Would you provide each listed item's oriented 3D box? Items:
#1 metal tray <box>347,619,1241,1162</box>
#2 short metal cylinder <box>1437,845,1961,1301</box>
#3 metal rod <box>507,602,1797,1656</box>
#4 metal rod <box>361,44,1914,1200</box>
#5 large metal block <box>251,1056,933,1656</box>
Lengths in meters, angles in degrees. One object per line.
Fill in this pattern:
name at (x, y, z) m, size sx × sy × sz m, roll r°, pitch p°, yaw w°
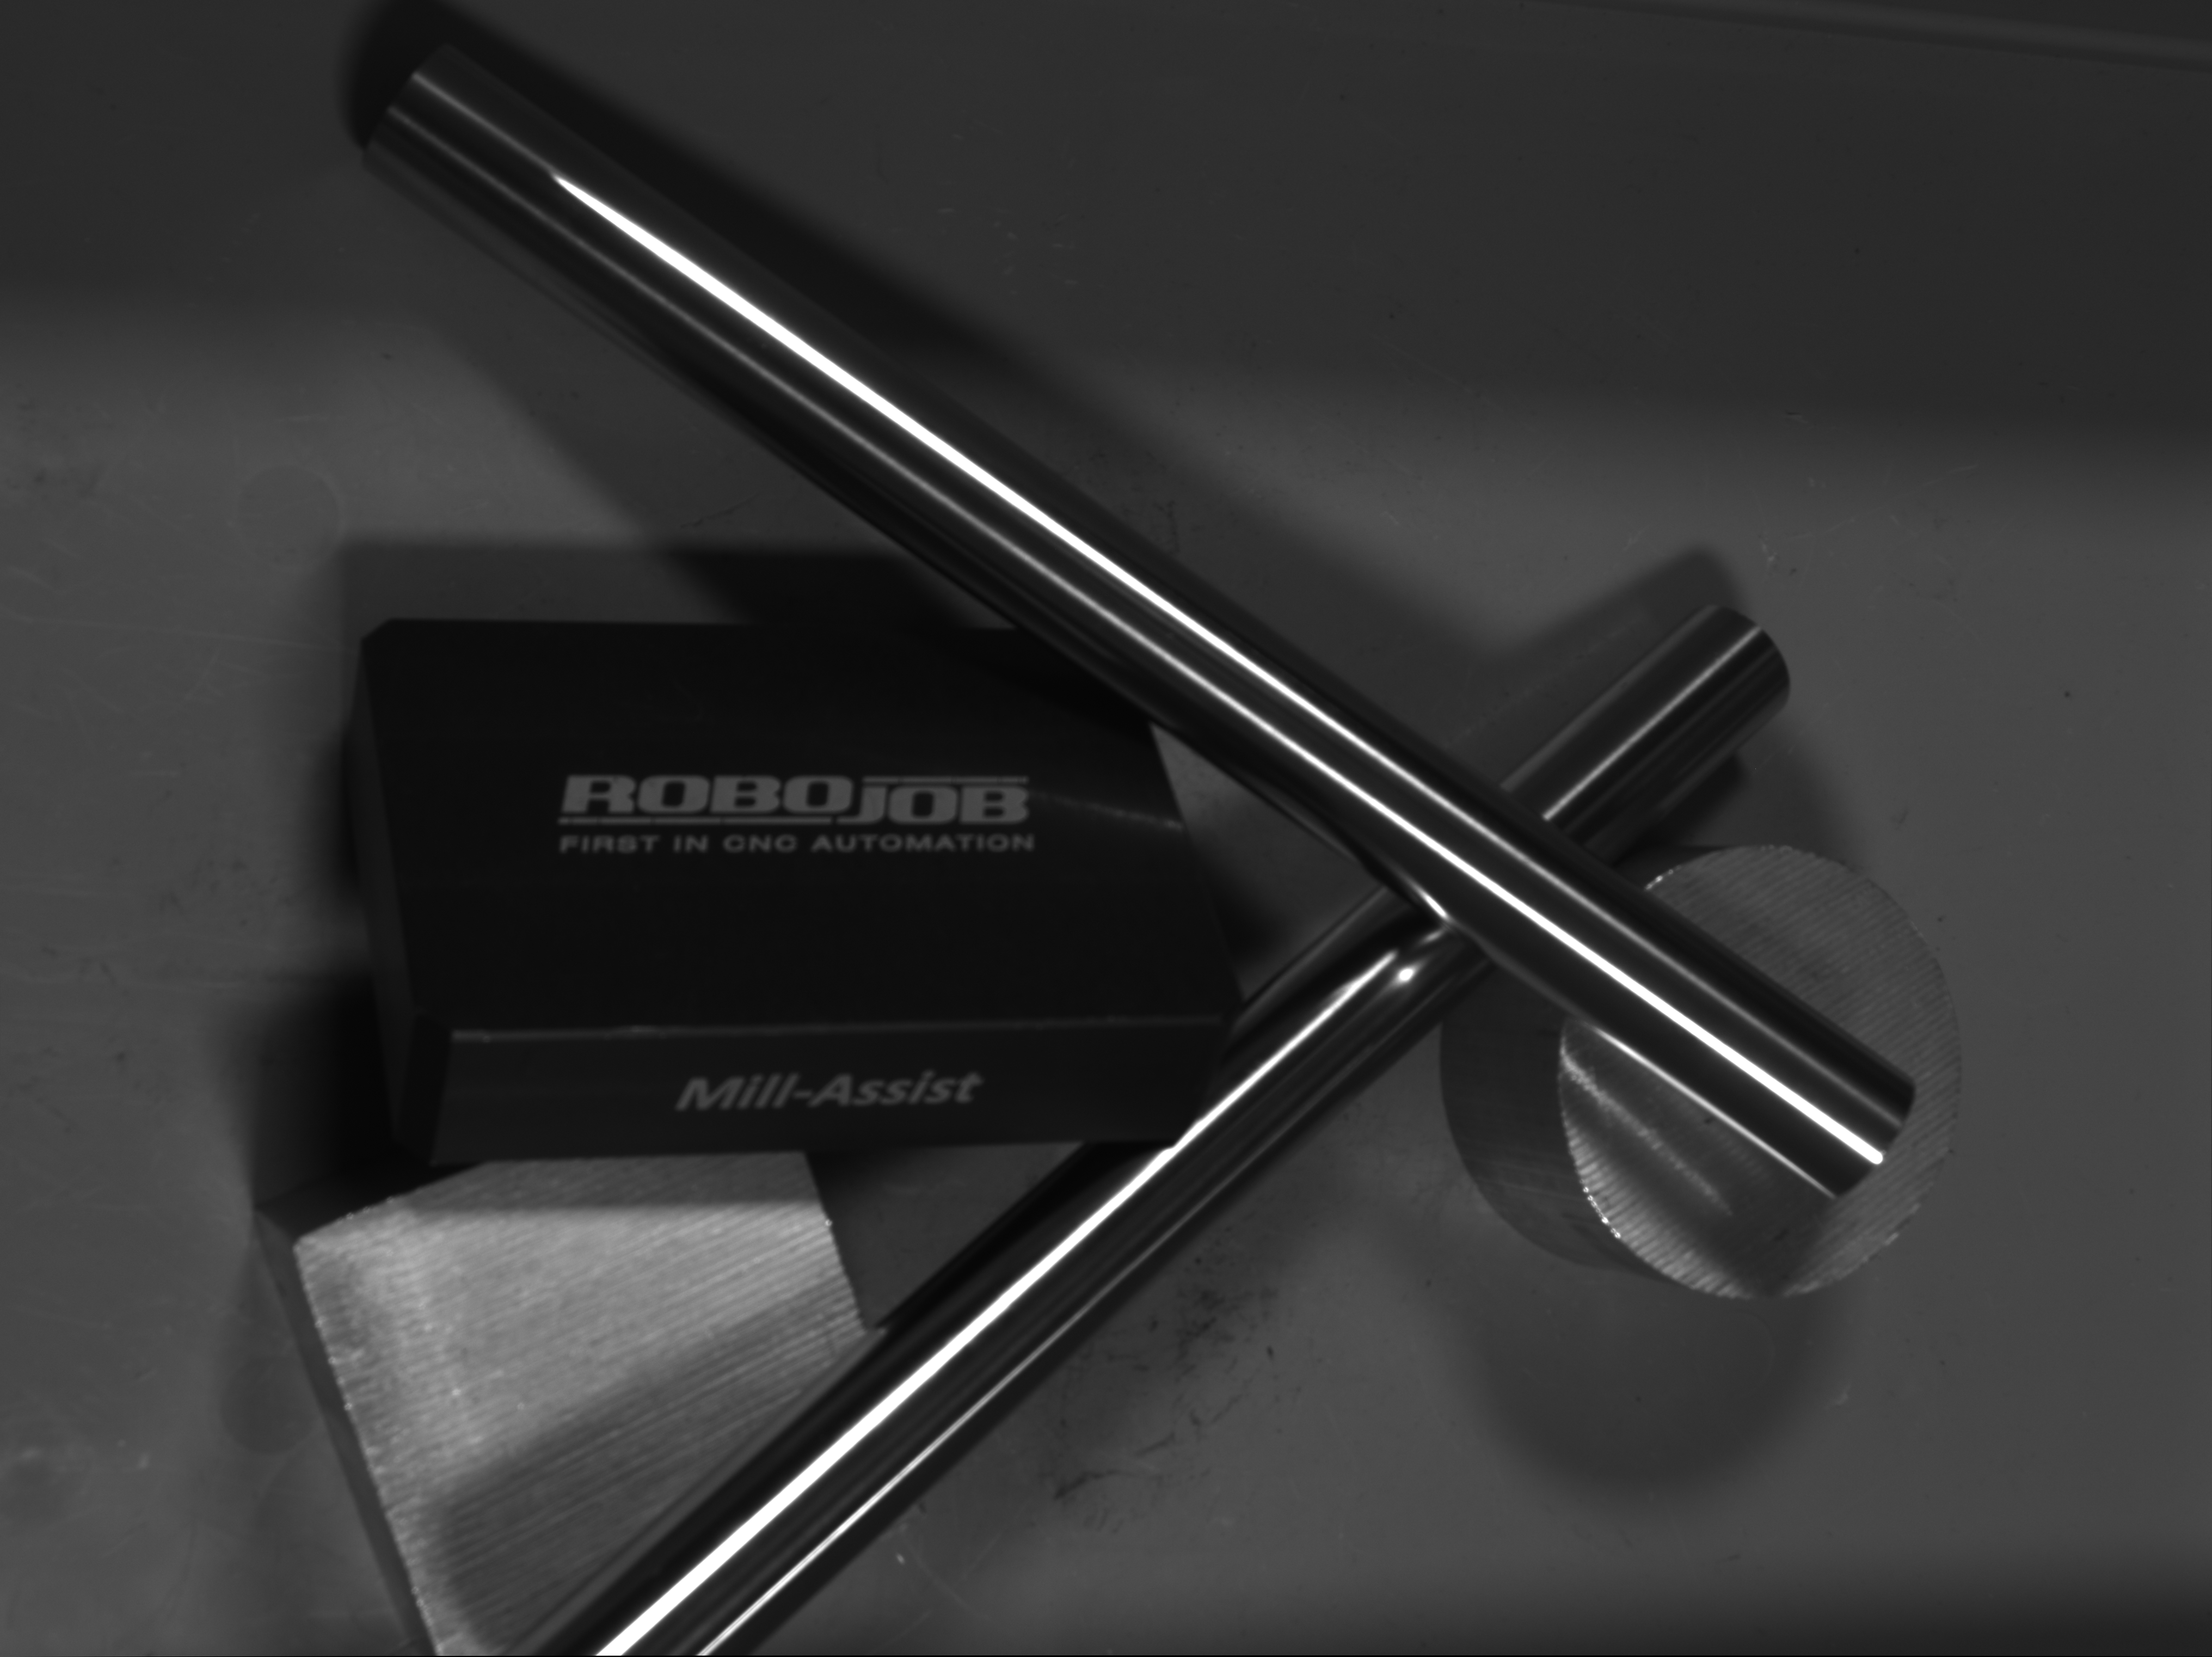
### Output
metal tray at (-0.052, 0.009, 0.591) m, size 0.130 × 0.030 × 0.090 m, roll 0°, pitch 46°, yaw -19°
short metal cylinder at (0.107, 0.043, 0.667) m, size 0.080 × 0.050 × 0.080 m, roll 0°, pitch 90°, yaw -20°
metal rod at (0.018, 0.051, 0.609) m, size 0.300 × 0.025 × 0.025 m, roll -39°, pitch 103°, yaw -30°
metal rod at (0.007, -0.033, 0.614) m, size 0.300 × 0.025 × 0.025 m, roll 35°, pitch 78°, yaw -4°
large metal block at (-0.084, 0.088, 0.595) m, size 0.080 × 0.050 × 0.080 m, roll -20°, pitch 97°, yaw -19°
